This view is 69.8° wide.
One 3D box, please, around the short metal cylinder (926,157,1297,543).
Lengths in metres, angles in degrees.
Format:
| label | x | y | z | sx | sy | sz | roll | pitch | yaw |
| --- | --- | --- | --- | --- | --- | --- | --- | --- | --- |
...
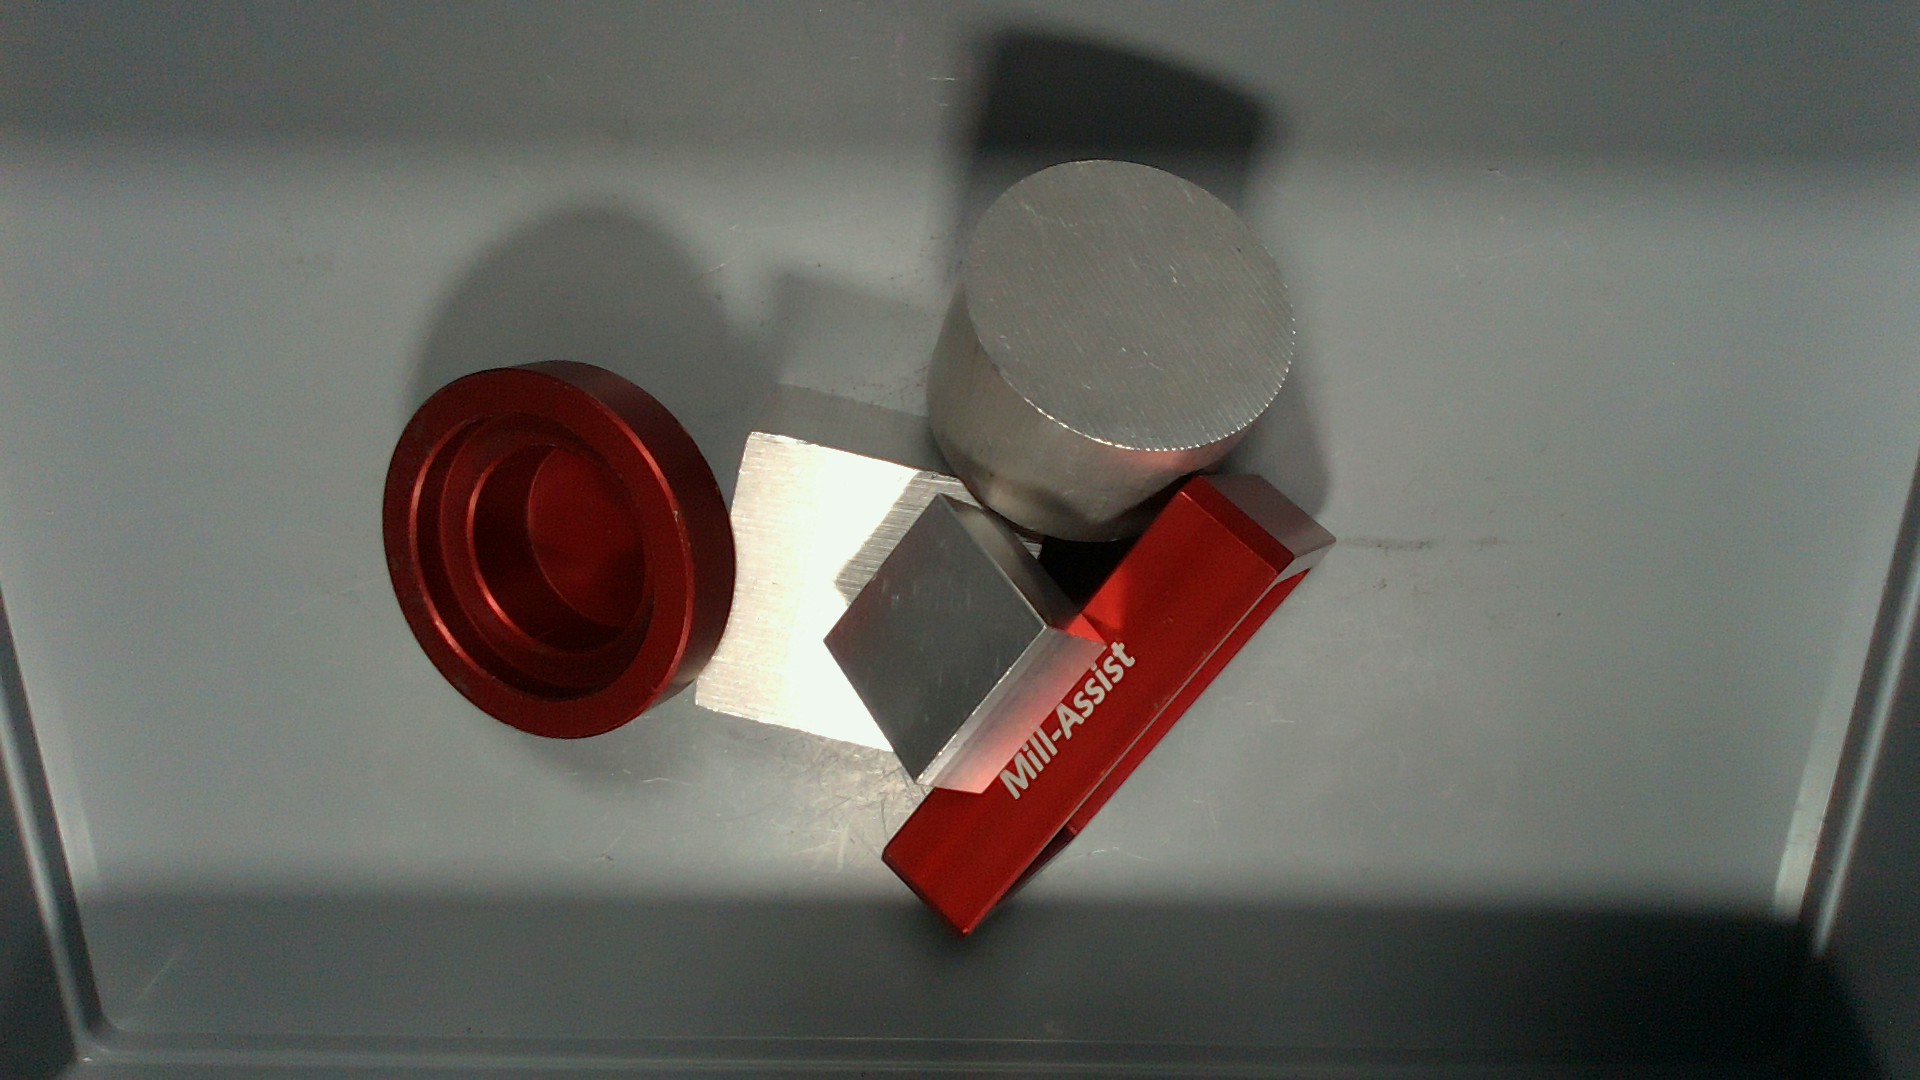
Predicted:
| label | x | y | z | sx | sy | sz | roll | pitch | yaw |
| --- | --- | --- | --- | --- | --- | --- | --- | --- | --- |
| short metal cylinder | 0.035 | -0.046 | 0.340 | 0.080 | 0.080 | 0.050 | 15 | 154 | -6 |

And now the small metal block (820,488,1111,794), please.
| label | x | y | z | sx | sy | sz | roll | pitch | yaw |
| --- | --- | --- | --- | --- | --- | --- | --- | --- | --- |
| small metal block | 0.000 | 0.025 | 0.333 | 0.025 | 0.050 | 0.050 | 20 | 115 | -48 |

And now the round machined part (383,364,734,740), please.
| label | x | y | z | sx | sy | sz | roll | pitch | yaw |
| --- | --- | --- | --- | --- | --- | --- | --- | --- | --- |
| round machined part | -0.102 | 0.000 | 0.371 | 0.098 | 0.042 | 0.098 | 6 | 106 | 22 |

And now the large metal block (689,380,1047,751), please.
| label | x | y | z | sx | sy | sz | roll | pitch | yaw |
| --- | --- | --- | --- | --- | --- | --- | --- | --- | --- |
| large metal block | -0.024 | 0.009 | 0.383 | 0.080 | 0.050 | 0.080 | 14 | 110 | -5 |

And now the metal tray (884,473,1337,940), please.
| label | x | y | z | sx | sy | sz | roll | pitch | yaw |
| --- | --- | --- | --- | --- | --- | --- | --- | --- | --- |
| metal tray | 0.043 | 0.041 | 0.372 | 0.030 | 0.090 | 0.130 | 42 | 106 | 15 |
